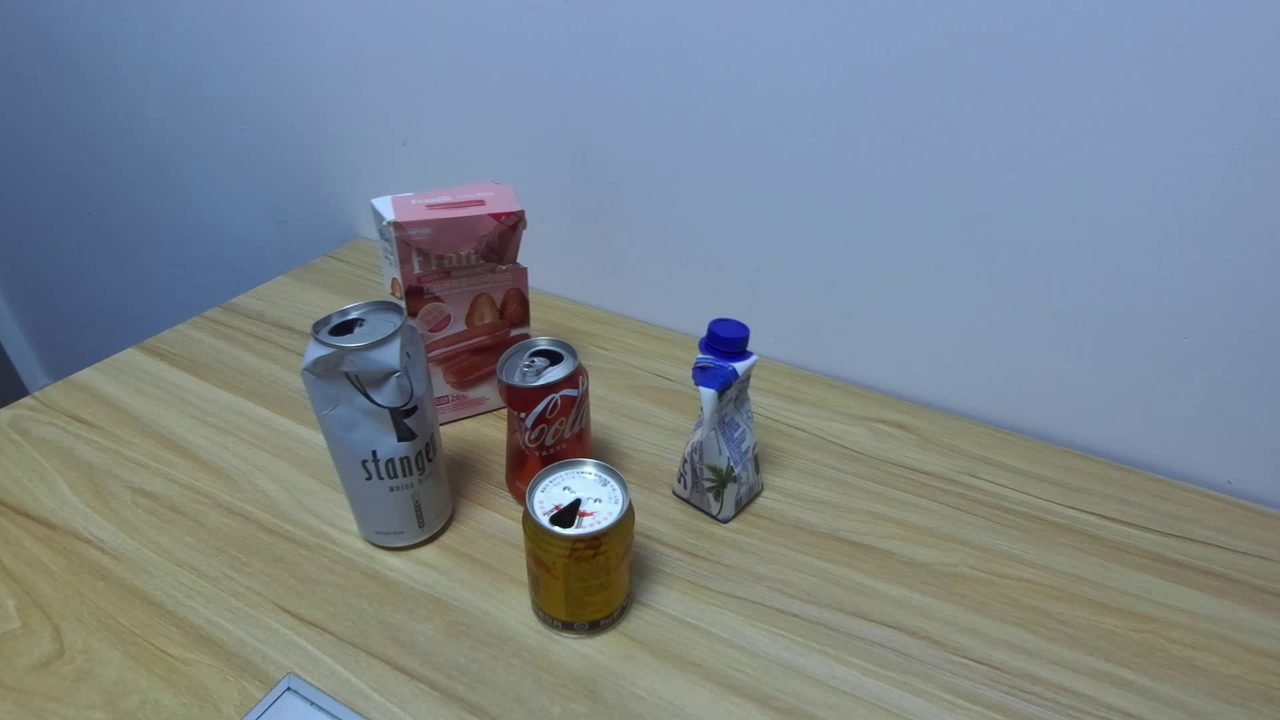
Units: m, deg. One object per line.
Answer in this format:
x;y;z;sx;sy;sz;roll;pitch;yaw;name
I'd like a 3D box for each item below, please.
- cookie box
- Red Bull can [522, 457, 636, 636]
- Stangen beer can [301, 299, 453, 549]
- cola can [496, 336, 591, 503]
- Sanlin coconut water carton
-0.143;-0.042;0.567;0.105;0.186;0.059;-13;39;-22;cookie box
-0.036;0.113;0.428;0.067;0.093;0.067;2;36;-1;Red Bull can
-0.167;0.044;0.460;0.066;0.166;0.066;-1;34;-3;Stangen beer can
-0.066;0.045;0.506;0.065;0.117;0.072;-5;37;-13;cola can
0.048;0.042;0.492;0.056;0.145;0.068;20;45;36;Sanlin coconut water carton
